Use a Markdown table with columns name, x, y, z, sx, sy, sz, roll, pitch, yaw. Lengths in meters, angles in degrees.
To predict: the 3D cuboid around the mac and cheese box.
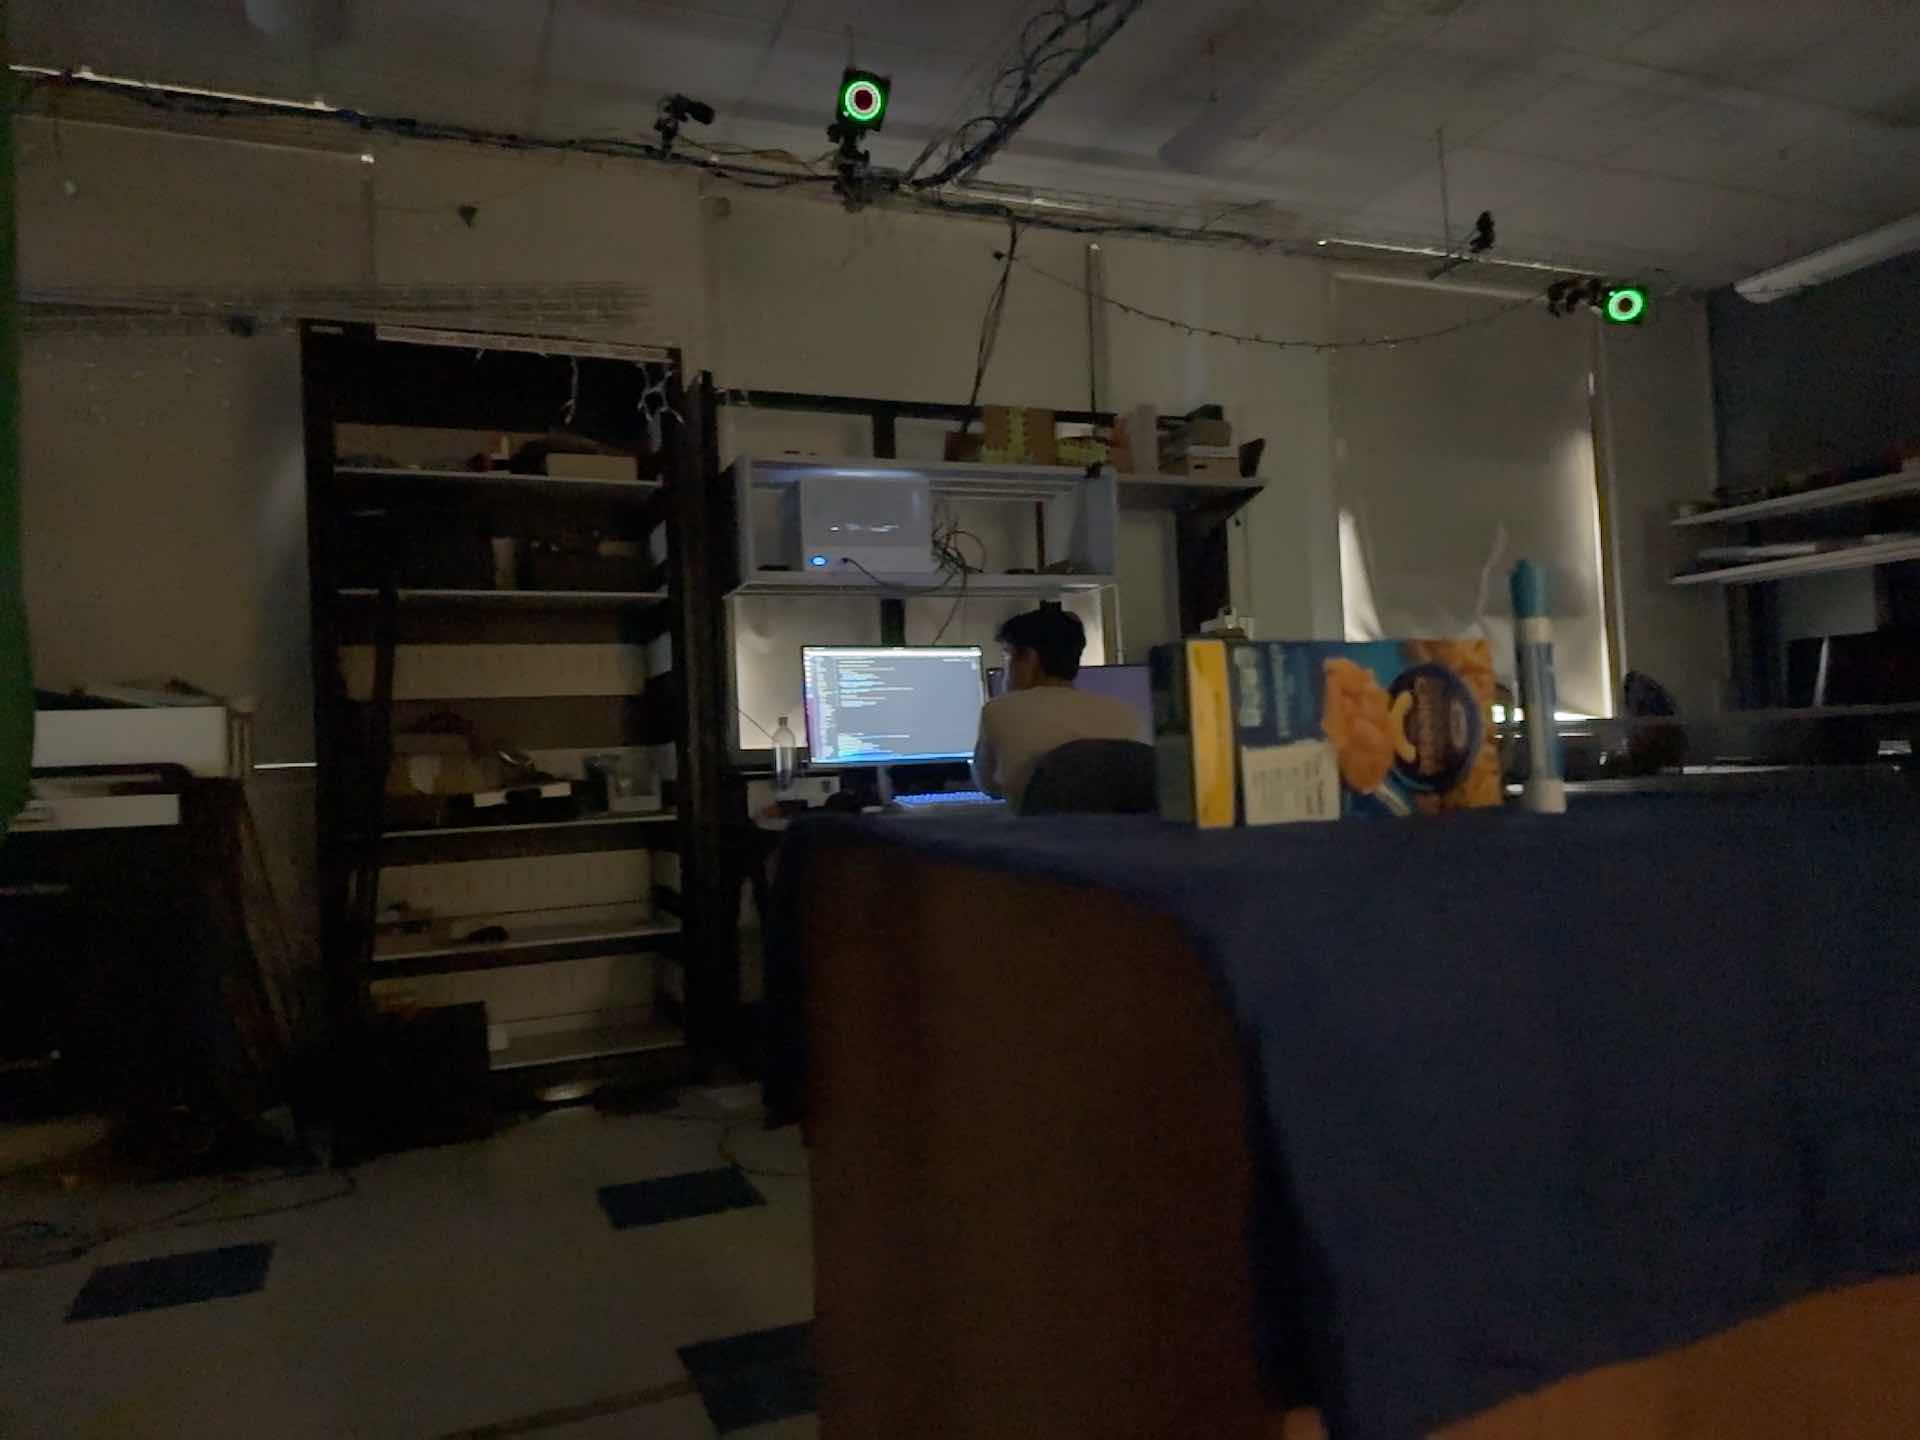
| name | x | y | z | sx | sy | sz | roll | pitch | yaw |
| --- | --- | --- | --- | --- | --- | --- | --- | --- | --- |
| mac and cheese box | 0.182 | 0.003 | 0.660 | 0.181 | 0.088 | 0.035 | -2 | -3 | -25 |

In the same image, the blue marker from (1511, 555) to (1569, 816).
| name | x | y | z | sx | sy | sz | roll | pitch | yaw |
| --- | --- | --- | --- | --- | --- | --- | --- | --- | --- |
| blue marker | 0.269 | -0.016 | 0.626 | 0.020 | 0.121 | 0.020 | -2 | -3 | 0 |
